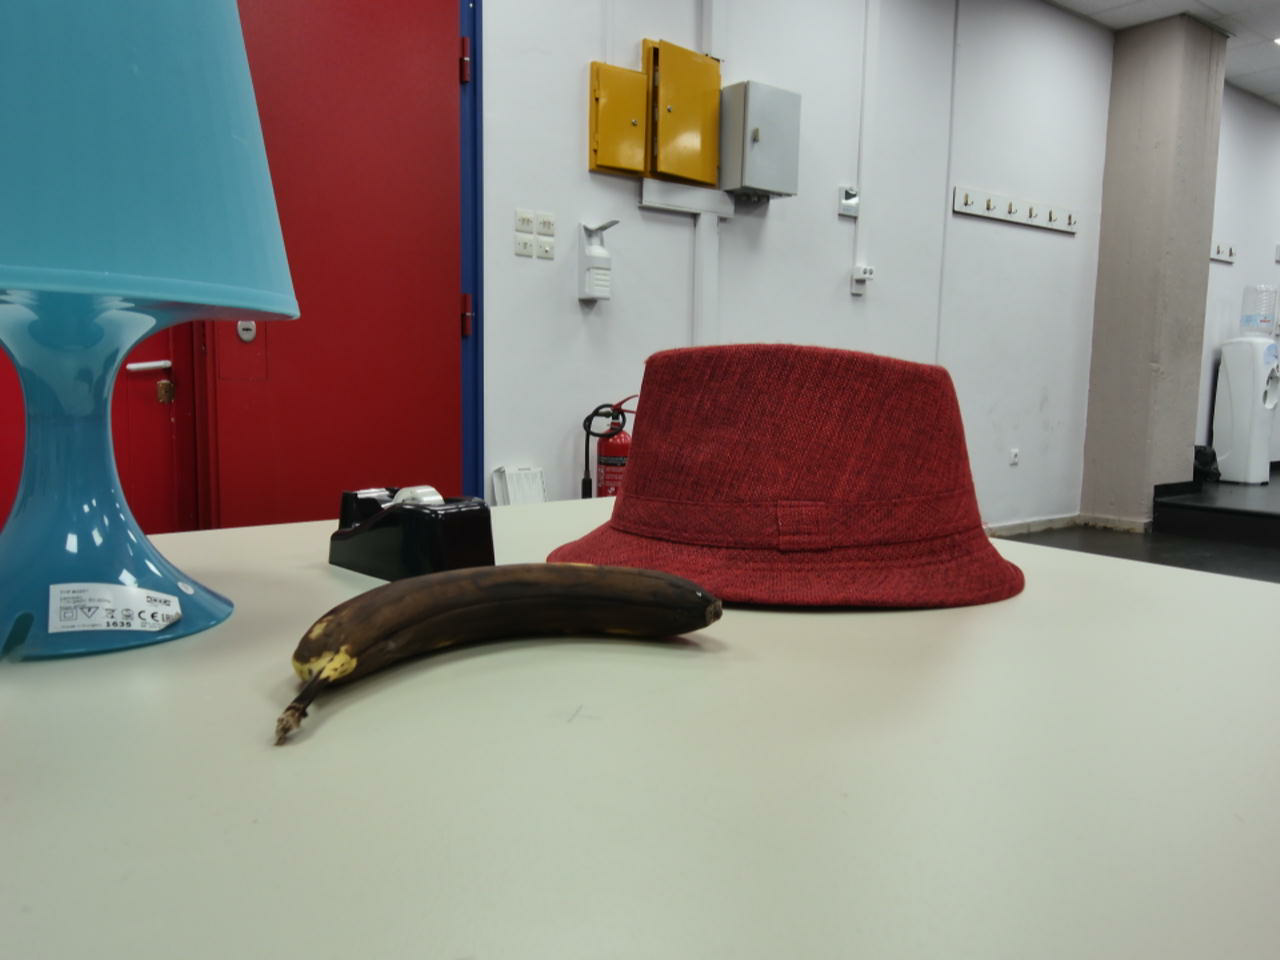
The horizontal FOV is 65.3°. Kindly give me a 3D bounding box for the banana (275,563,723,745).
[{"bbox_3d":[-0.062,0.055,0.398,0.188,0.033,0.091,-3,5,-37],"label":"banana"}]
